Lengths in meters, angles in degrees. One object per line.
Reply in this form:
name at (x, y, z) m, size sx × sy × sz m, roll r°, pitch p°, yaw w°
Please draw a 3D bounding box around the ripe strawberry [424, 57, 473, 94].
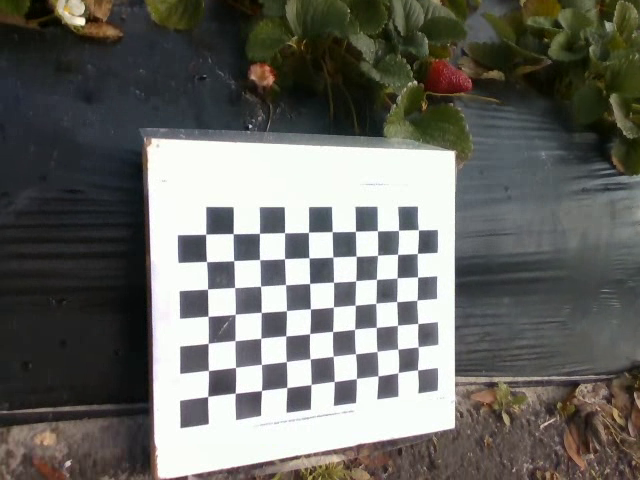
ripe strawberry at (0.138, -0.170, 0.652) m, size 0.064 × 0.051 × 0.043 m, roll 34°, pitch -15°, yaw -21°
